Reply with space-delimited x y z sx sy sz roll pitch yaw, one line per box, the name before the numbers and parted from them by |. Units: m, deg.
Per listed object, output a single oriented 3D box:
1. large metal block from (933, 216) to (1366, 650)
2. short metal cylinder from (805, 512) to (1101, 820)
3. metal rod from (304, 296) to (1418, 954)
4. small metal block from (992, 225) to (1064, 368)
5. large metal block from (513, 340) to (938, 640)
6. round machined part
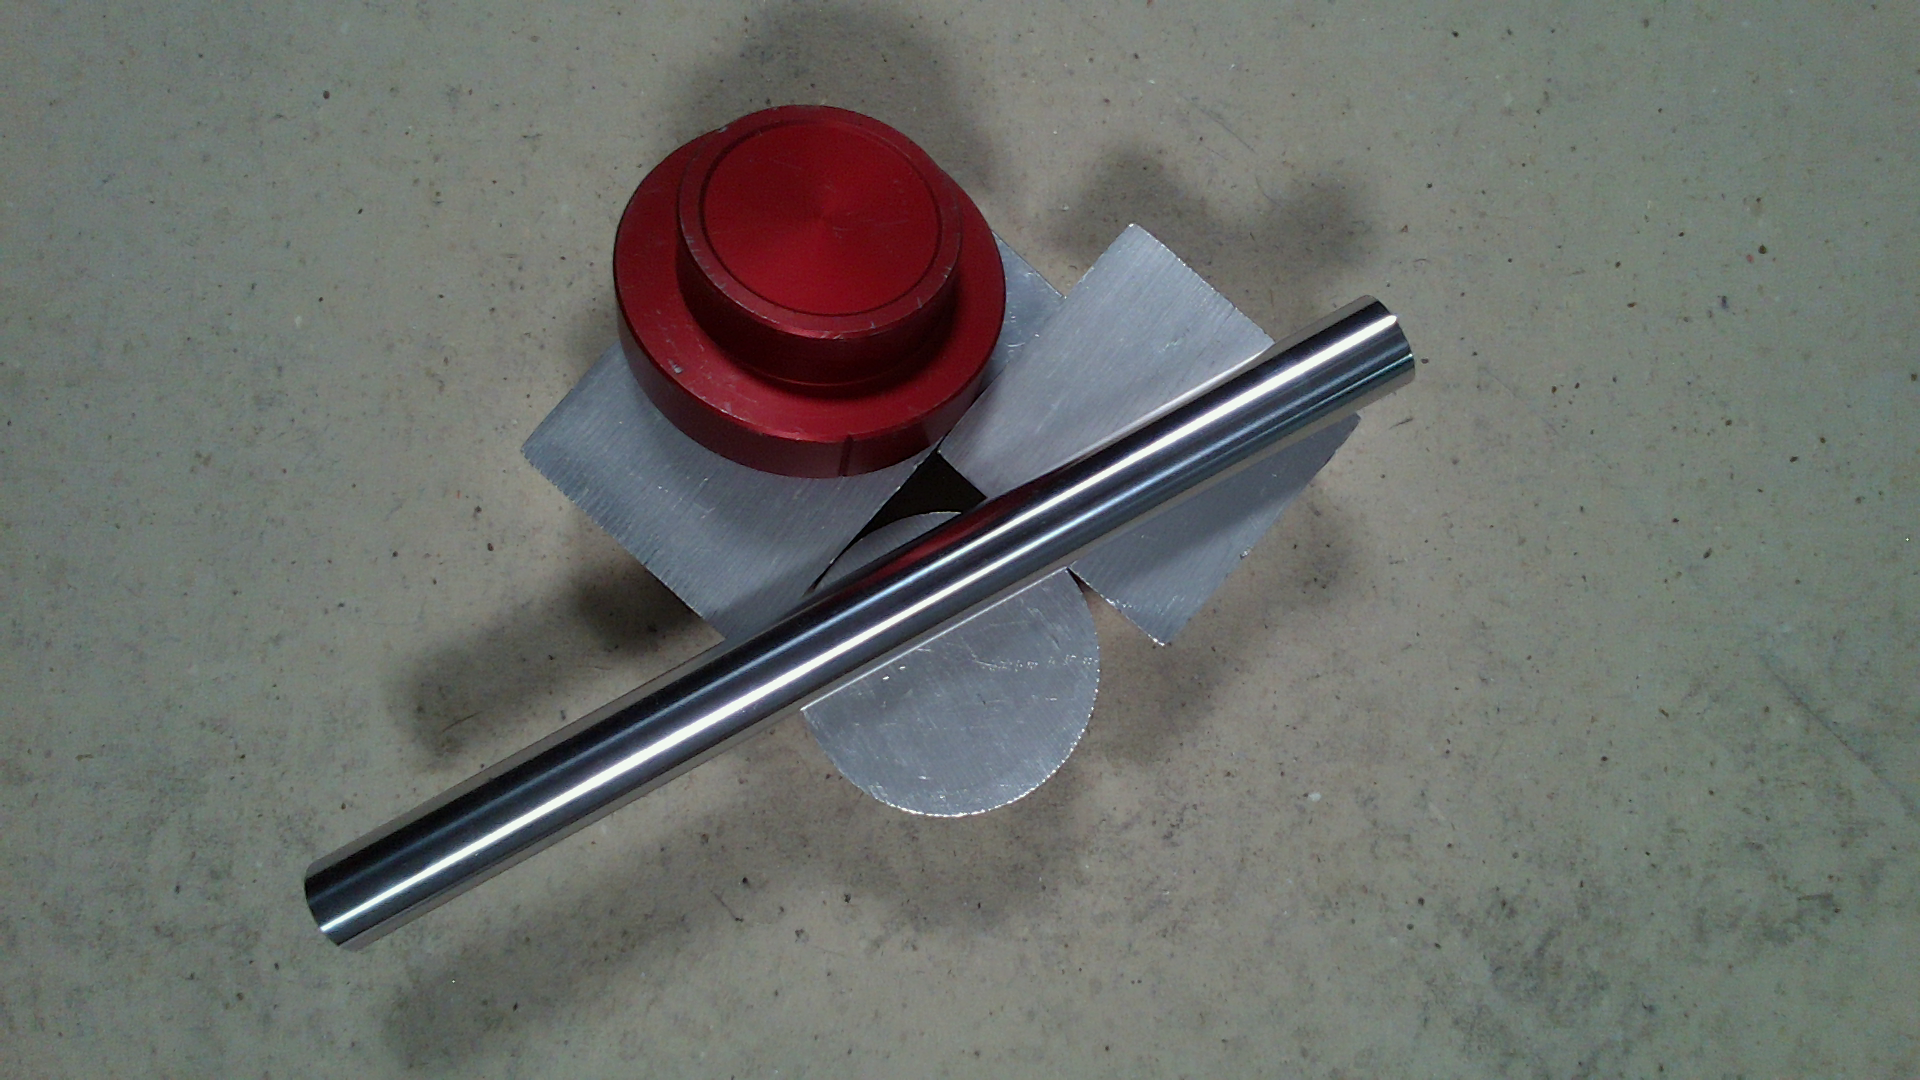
large metal block | 0.049 -0.028 0.383 0.080 0.050 0.080 41 90 0
short metal cylinder | -0.003 0.033 0.382 0.080 0.050 0.080 0 90 0
metal rod | -0.024 0.021 0.345 0.300 0.025 0.025 -28 90 0
small metal block | -0.005 -0.066 0.394 0.050 0.025 0.050 43 90 0
large metal block | -0.059 -0.026 0.382 0.080 0.050 0.080 42 90 0
round machined part | -0.036 -0.068 0.342 0.098 0.042 0.098 5 64 -10
